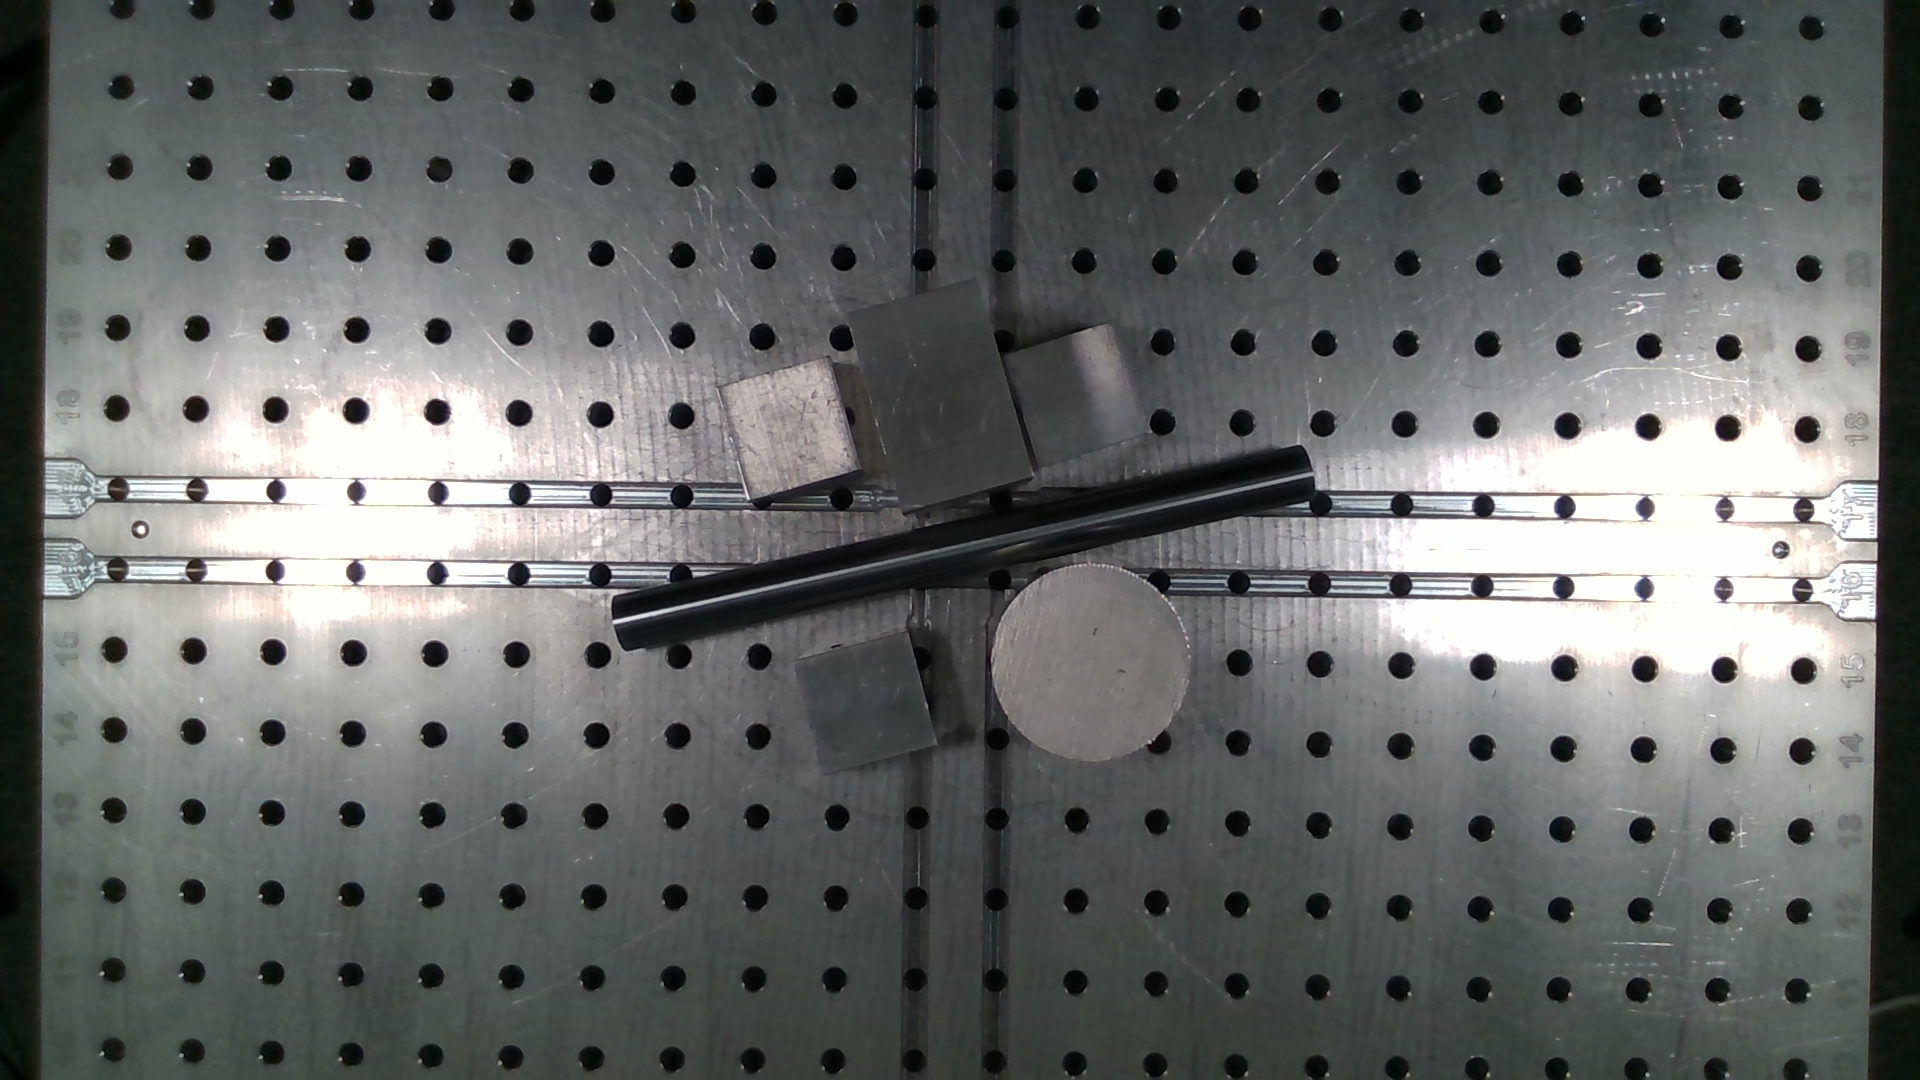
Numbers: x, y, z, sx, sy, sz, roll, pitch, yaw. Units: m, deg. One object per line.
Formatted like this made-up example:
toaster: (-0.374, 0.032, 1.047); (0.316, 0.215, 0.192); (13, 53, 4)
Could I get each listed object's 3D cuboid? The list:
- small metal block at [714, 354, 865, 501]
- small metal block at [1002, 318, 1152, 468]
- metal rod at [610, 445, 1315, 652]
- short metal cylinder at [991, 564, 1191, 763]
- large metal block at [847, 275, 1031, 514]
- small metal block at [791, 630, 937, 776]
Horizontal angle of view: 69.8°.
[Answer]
small metal block: (-0.072, -0.047, 0.589); (0.050, 0.025, 0.050); (-16, 90, 0)
small metal block: (0.049, -0.062, 0.589); (0.050, 0.025, 0.050); (-18, 90, 0)
metal rod: (0.001, 0.004, 0.589); (0.300, 0.025, 0.025); (-12, 90, 0)
short metal cylinder: (0.053, 0.049, 0.577); (0.080, 0.050, 0.080); (0, 90, 0)
large metal block: (-0.008, -0.055, 0.560); (0.050, 0.080, 0.080); (-16, 90, 0)
small metal block: (-0.040, 0.069, 0.590); (0.050, 0.025, 0.050); (-15, 90, 0)
